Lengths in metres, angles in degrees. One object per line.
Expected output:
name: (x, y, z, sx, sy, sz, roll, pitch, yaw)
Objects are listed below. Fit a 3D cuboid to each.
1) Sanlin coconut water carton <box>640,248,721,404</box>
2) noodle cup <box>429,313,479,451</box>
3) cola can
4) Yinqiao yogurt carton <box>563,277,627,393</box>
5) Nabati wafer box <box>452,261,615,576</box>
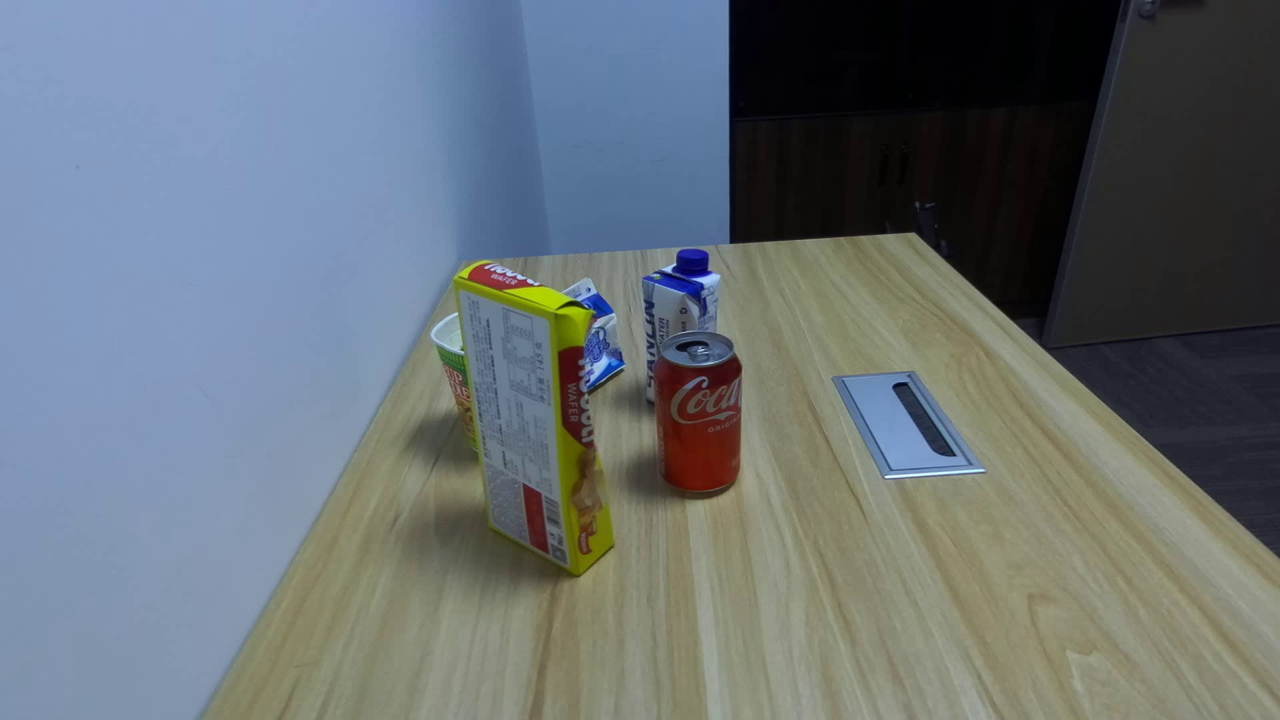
Sanlin coconut water carton: (0.038, -0.024, 0.637, 0.060, 0.144, 0.061, 22, 37, 38)
noodle cup: (-0.161, 0.008, 0.742, 0.075, 0.122, 0.083, -7, 36, 22)
cola can: (0.046, 0.040, 0.545, 0.068, 0.120, 0.068, -2, 27, 1)
Yinqiao yogurt carton: (-0.064, -0.026, 0.702, 0.070, 0.094, 0.077, 12, 31, 36)
Nabati wafer box: (-0.066, 0.042, 0.470, 0.106, 0.204, 0.042, 18, 34, 35)
